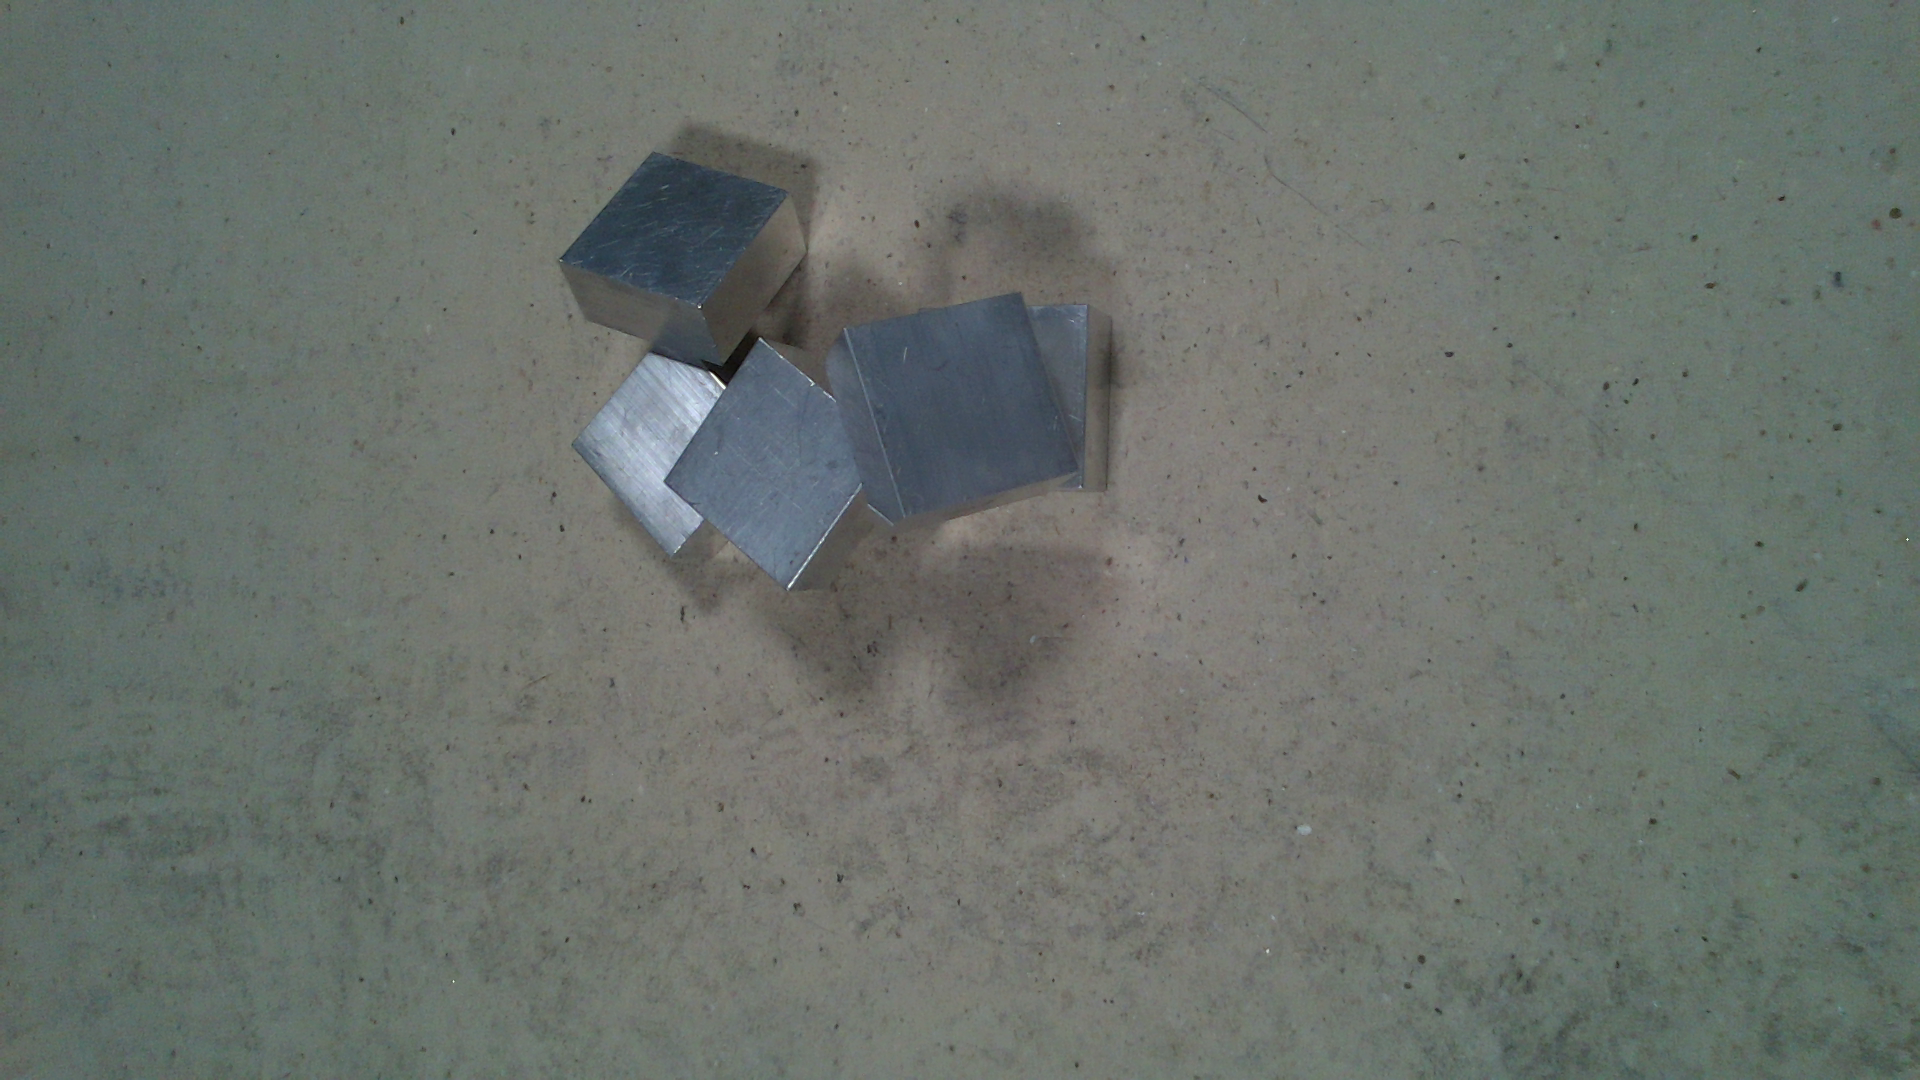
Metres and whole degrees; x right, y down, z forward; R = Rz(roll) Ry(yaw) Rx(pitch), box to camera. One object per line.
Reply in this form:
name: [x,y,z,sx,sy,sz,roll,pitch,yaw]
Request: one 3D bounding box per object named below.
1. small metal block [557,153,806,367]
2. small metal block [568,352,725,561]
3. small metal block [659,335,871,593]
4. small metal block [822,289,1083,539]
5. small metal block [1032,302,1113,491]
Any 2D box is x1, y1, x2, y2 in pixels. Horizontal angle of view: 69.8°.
small metal block: [-0.082,-0.085,0.413,0.050,0.025,0.050,20,60,19]
small metal block: [-0.084,-0.029,0.426,0.050,0.025,0.050,-47,76,14]
small metal block: [-0.047,-0.021,0.385,0.050,0.025,0.050,39,103,16]
small metal block: [-0.002,-0.033,0.357,0.050,0.025,0.050,-15,83,-21]
small metal block: [0.015,-0.040,0.391,0.050,0.025,0.050,2,91,20]
